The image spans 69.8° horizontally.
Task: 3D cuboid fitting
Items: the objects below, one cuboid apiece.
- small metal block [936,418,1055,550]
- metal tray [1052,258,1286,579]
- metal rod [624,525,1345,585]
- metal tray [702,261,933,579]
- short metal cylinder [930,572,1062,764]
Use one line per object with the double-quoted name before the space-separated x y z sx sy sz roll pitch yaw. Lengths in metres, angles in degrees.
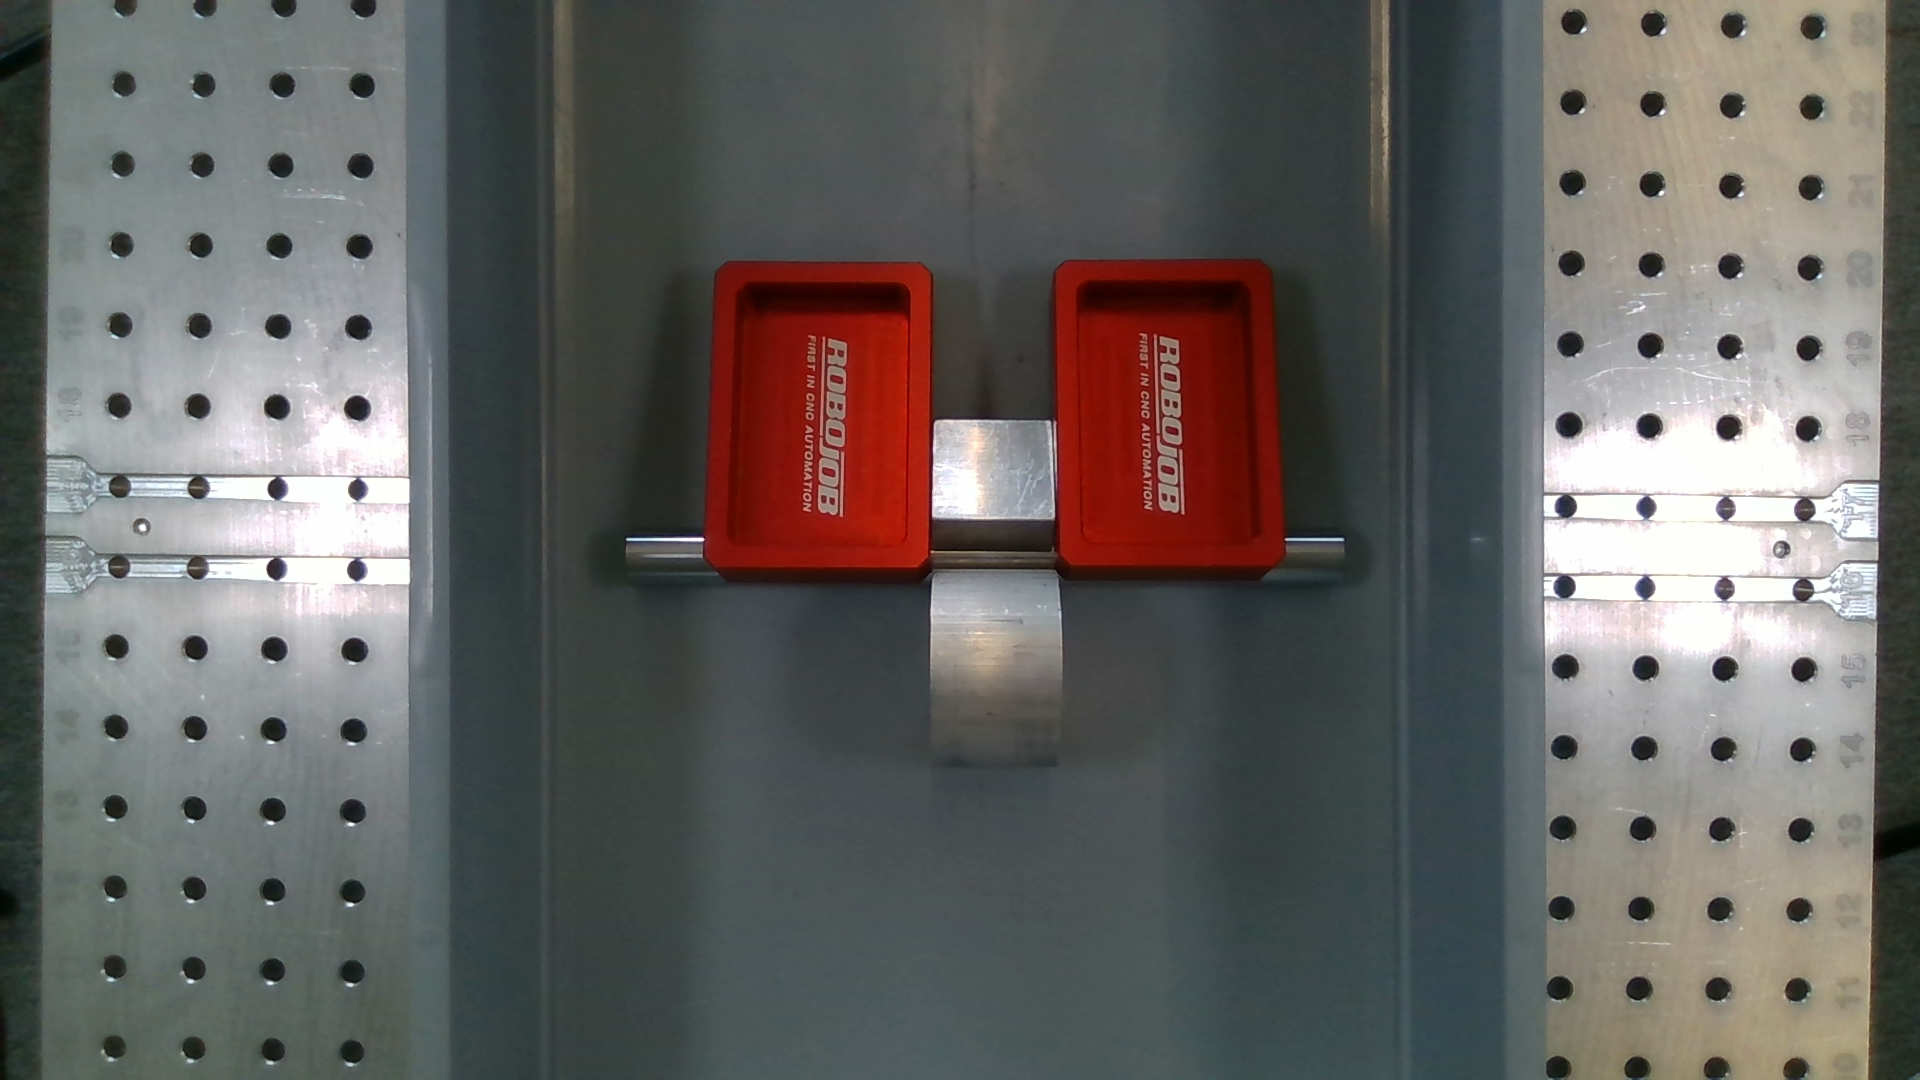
"small metal block" 0.013 -0.023 0.575 0.050 0.025 0.050 1 59 0
"metal tray" 0.083 -0.050 0.569 0.090 0.030 0.130 0 78 0
"metal rod" 0.010 0.006 0.586 0.300 0.025 0.025 0 90 0
"metal tray" -0.057 -0.049 0.569 0.090 0.030 0.130 0 78 0
"short metal cylinder" 0.014 0.052 0.559 0.050 0.080 0.080 0 90 0
